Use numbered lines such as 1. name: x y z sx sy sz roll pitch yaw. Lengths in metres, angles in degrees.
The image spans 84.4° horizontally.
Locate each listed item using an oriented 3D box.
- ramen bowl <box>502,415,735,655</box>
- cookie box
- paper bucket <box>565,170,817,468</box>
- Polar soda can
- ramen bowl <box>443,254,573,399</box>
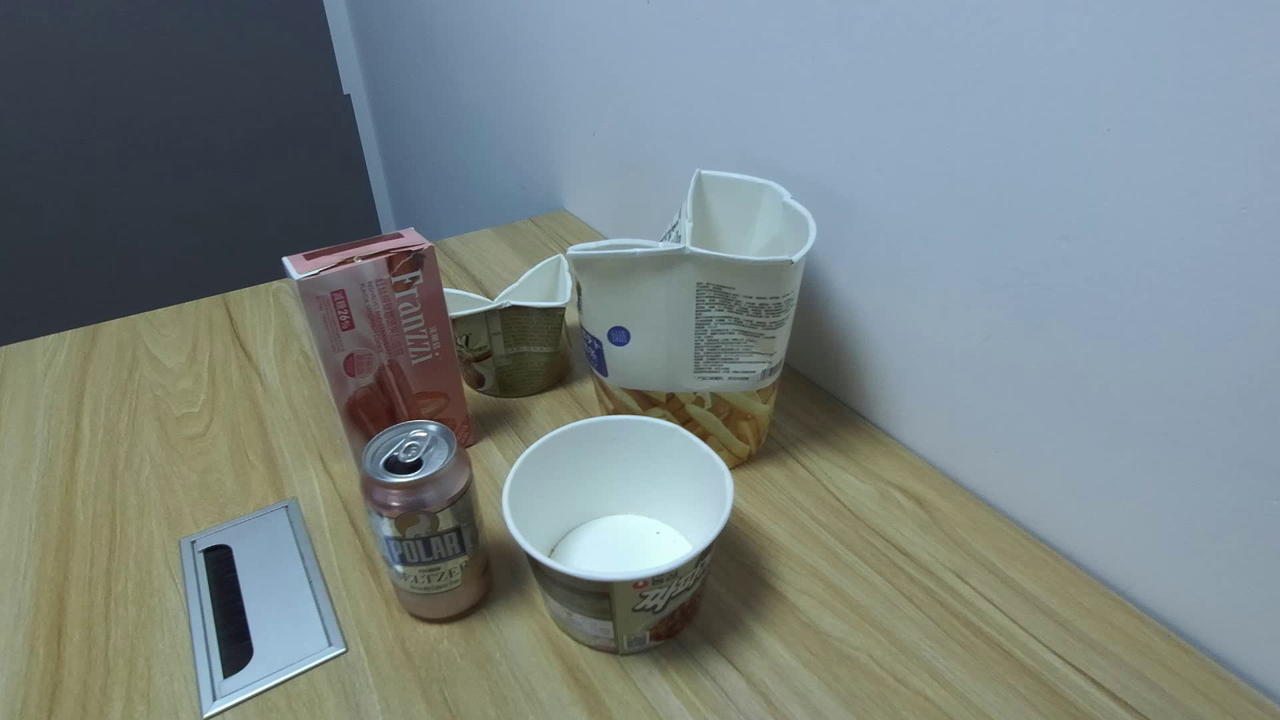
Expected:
1. ramen bowl: -0.012 0.115 0.458 0.140 0.095 0.140 -1 33 1
2. cookie box: -0.192 -0.003 0.549 0.105 0.188 0.048 -22 38 -28
3. paper bucket: 0.042 -0.033 0.578 0.169 0.202 0.162 5 34 5
4. Polar soda can: -0.135 0.103 0.453 0.067 0.126 0.067 -1 34 1
5. ramen bowl: -0.127 -0.032 0.677 0.128 0.093 0.111 -7 35 -6
